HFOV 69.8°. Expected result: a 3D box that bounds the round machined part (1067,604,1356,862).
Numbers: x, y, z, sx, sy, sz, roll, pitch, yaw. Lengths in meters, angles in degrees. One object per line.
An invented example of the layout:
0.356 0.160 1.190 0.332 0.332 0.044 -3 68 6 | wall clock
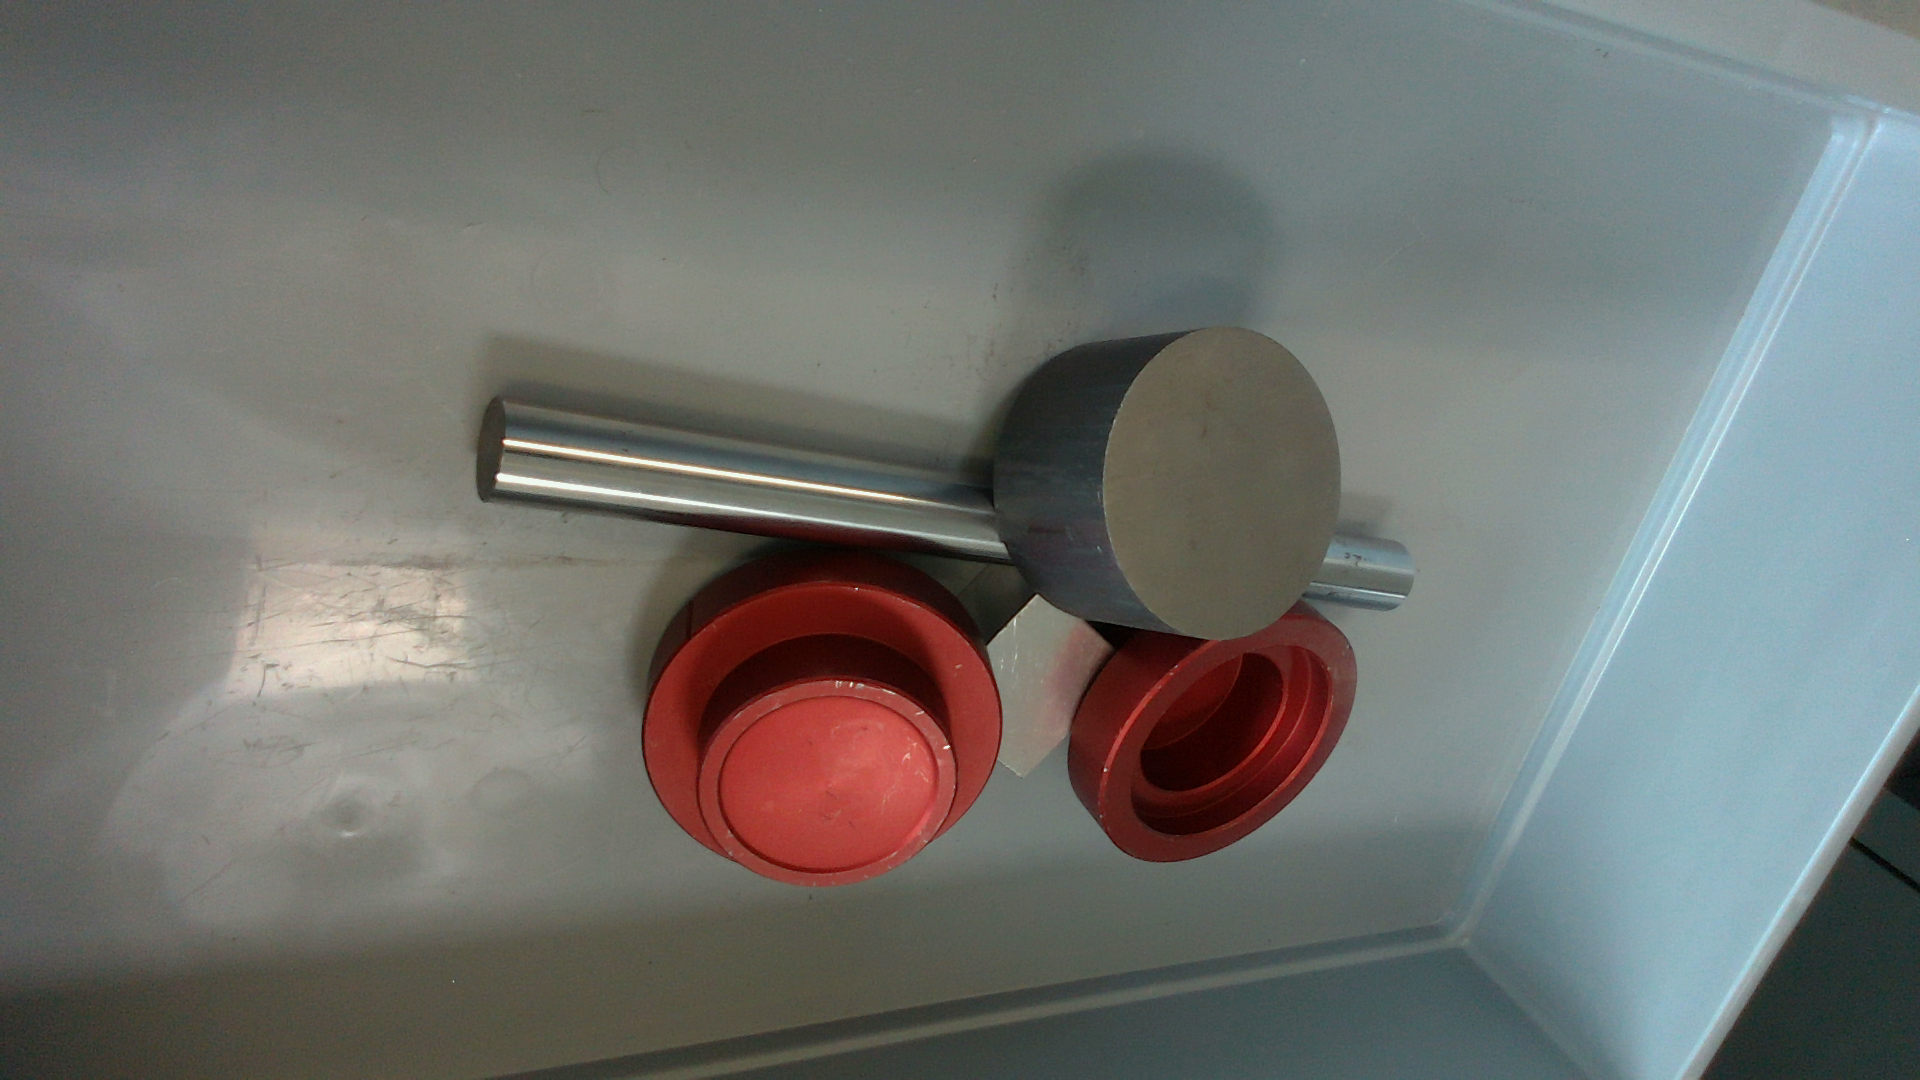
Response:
0.077 0.054 0.448 0.098 0.042 0.098 -16 128 -22 | round machined part

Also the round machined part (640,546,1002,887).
-0.037 0.054 0.373 0.098 0.042 0.098 -3 118 -6 | round machined part

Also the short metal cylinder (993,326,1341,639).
0.056 -0.016 0.373 0.080 0.050 0.080 -2 94 -31 | short metal cylinder

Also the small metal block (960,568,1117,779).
0.017 0.038 0.420 0.050 0.025 0.050 -45 129 3 | small metal block

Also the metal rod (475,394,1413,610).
0.019 -0.005 0.395 0.301 0.025 0.025 7 115 -32 | metal rod
